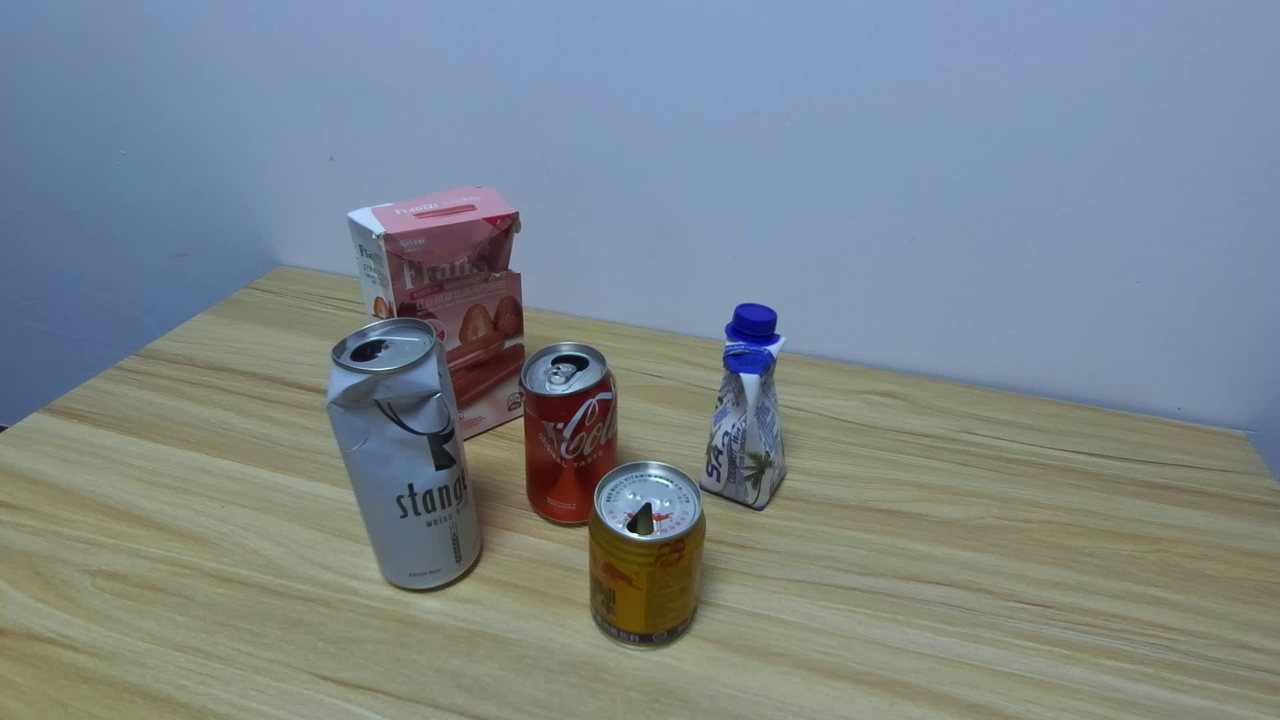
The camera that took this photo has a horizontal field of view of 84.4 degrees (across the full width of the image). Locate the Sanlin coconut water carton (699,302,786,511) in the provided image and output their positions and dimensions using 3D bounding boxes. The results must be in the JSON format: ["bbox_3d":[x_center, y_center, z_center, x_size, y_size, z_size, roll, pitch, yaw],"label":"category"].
[{"bbox_3d":[0.067,0.034,0.486,0.056,0.145,0.068,11,42,26],"label":"Sanlin coconut water carton"}]

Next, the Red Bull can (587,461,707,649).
[{"bbox_3d":[0.003,0.112,0.409,0.067,0.093,0.067,2,35,-1],"label":"Red Bull can"}]

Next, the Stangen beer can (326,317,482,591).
[{"bbox_3d":[-0.136,0.060,0.418,0.066,0.166,0.066,-7,34,-10],"label":"Stangen beer can"}]

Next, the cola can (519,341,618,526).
[{"bbox_3d":[-0.045,0.051,0.483,0.066,0.117,0.072,-12,36,-22],"label":"cola can"}]

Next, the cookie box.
[{"bbox_3d":[-0.142,-0.027,0.530,0.105,0.186,0.059,-20,42,-31],"label":"cookie box"}]
